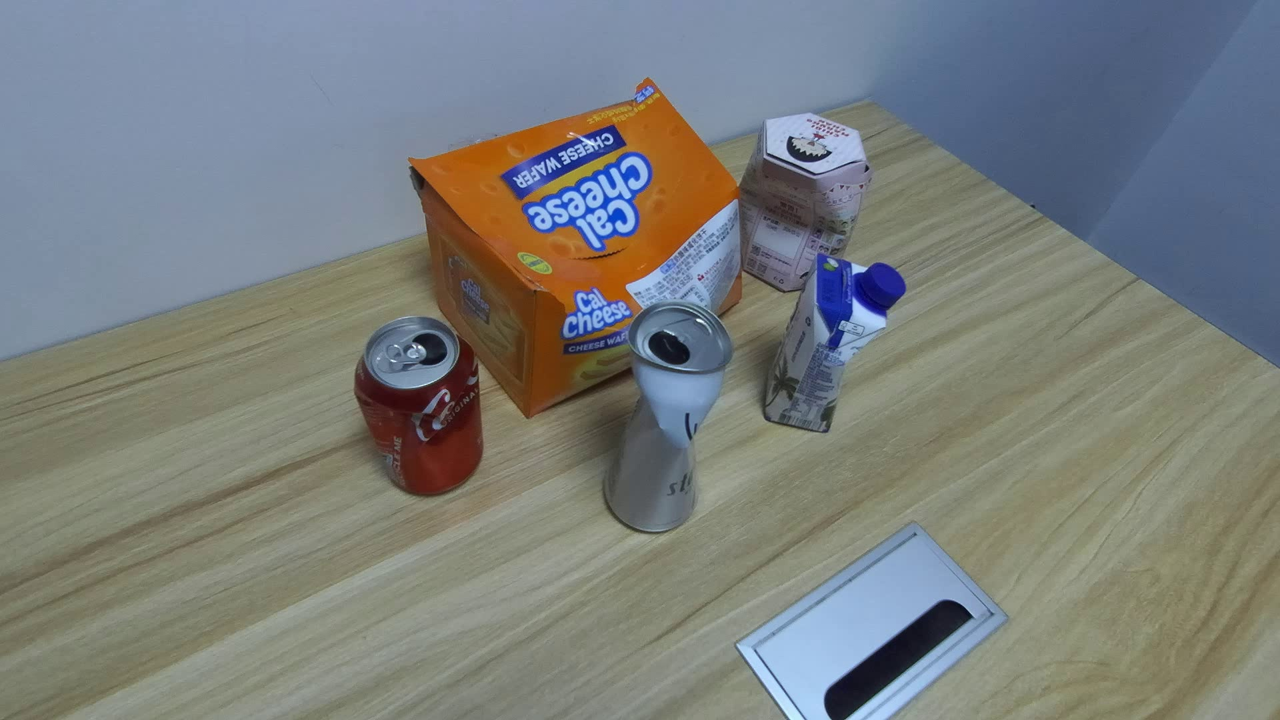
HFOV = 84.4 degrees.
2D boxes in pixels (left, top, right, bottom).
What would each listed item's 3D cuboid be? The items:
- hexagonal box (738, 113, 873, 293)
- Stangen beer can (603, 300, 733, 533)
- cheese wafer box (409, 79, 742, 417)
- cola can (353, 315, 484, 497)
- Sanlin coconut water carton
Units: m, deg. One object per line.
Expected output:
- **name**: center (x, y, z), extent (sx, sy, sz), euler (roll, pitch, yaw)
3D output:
- **hexagonal box**: center (0.136, -0.129, 0.605), extent (0.090, 0.134, 0.091), euler (-10, 51, -10)
- **Stangen beer can**: center (0.015, 0.041, 0.429), extent (0.066, 0.162, 0.077), euler (-30, 58, -28)
- **cheese wafer box**: center (-0.026, -0.087, 0.545), extent (0.219, 0.145, 0.190), euler (-29, 57, -26)
- **cola can**: center (-0.139, 0.032, 0.453), extent (0.066, 0.117, 0.066), euler (13, 48, 6)
- **Sanlin coconut water carton**: center (0.132, -0.011, 0.497), extent (0.058, 0.142, 0.078), euler (15, 48, 1)
